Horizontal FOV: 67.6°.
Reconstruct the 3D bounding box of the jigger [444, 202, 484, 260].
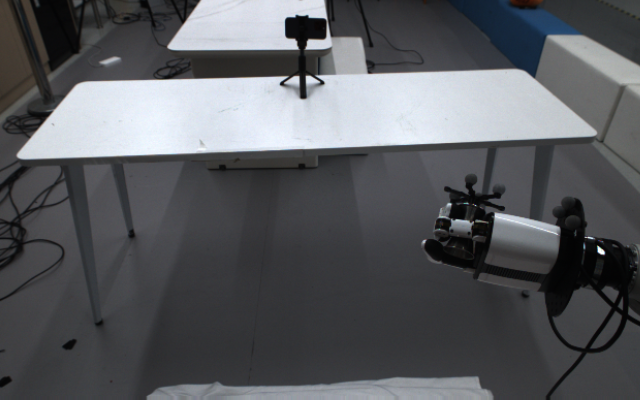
[{"bbox_3d":[0.203,0.039,0.673,0.043,0.043,0.071,16,70,19],"label":"jigger"}]
